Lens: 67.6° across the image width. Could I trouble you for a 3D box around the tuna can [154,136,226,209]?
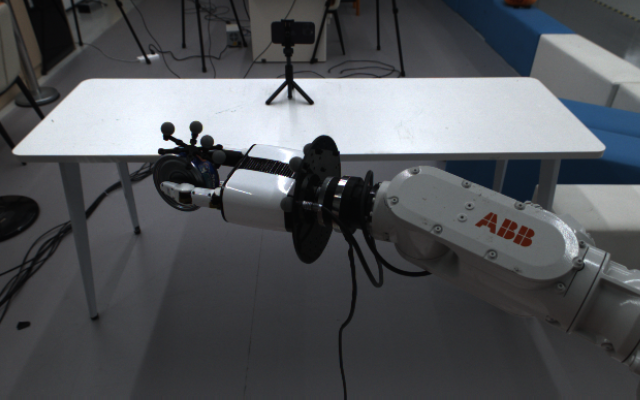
[{"bbox_3d":[-0.180,-0.028,0.651,0.085,0.085,0.034,15,31,18],"label":"tuna can"}]
